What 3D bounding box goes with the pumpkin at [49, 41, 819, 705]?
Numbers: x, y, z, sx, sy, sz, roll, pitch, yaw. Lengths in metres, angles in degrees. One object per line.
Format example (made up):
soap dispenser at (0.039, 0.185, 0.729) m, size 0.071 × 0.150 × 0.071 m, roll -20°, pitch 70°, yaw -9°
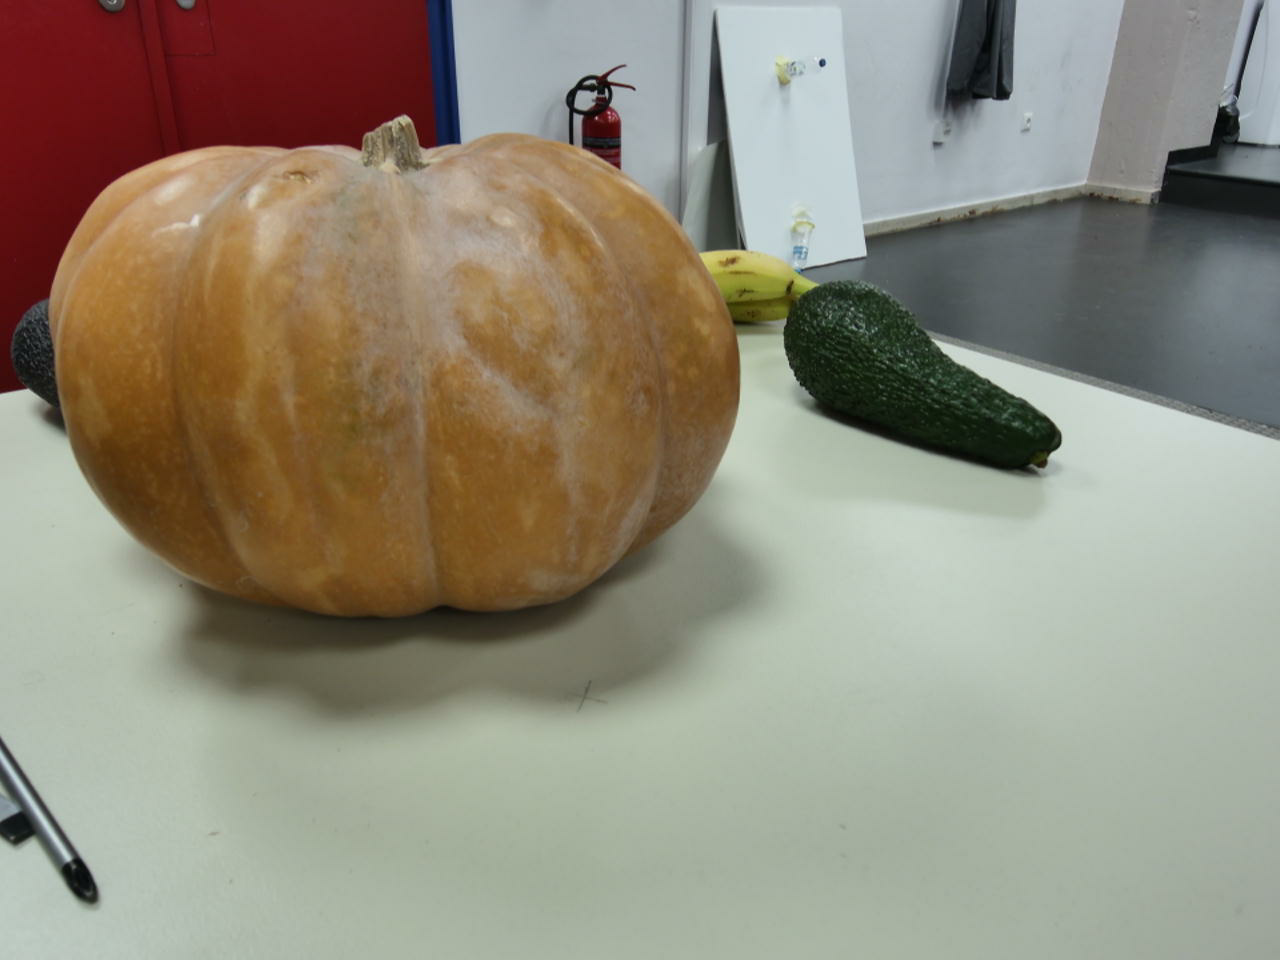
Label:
pumpkin at (-0.092, -0.051, 0.409) m, size 0.277 × 0.181 × 0.277 m, roll 0°, pitch 24°, yaw 0°
